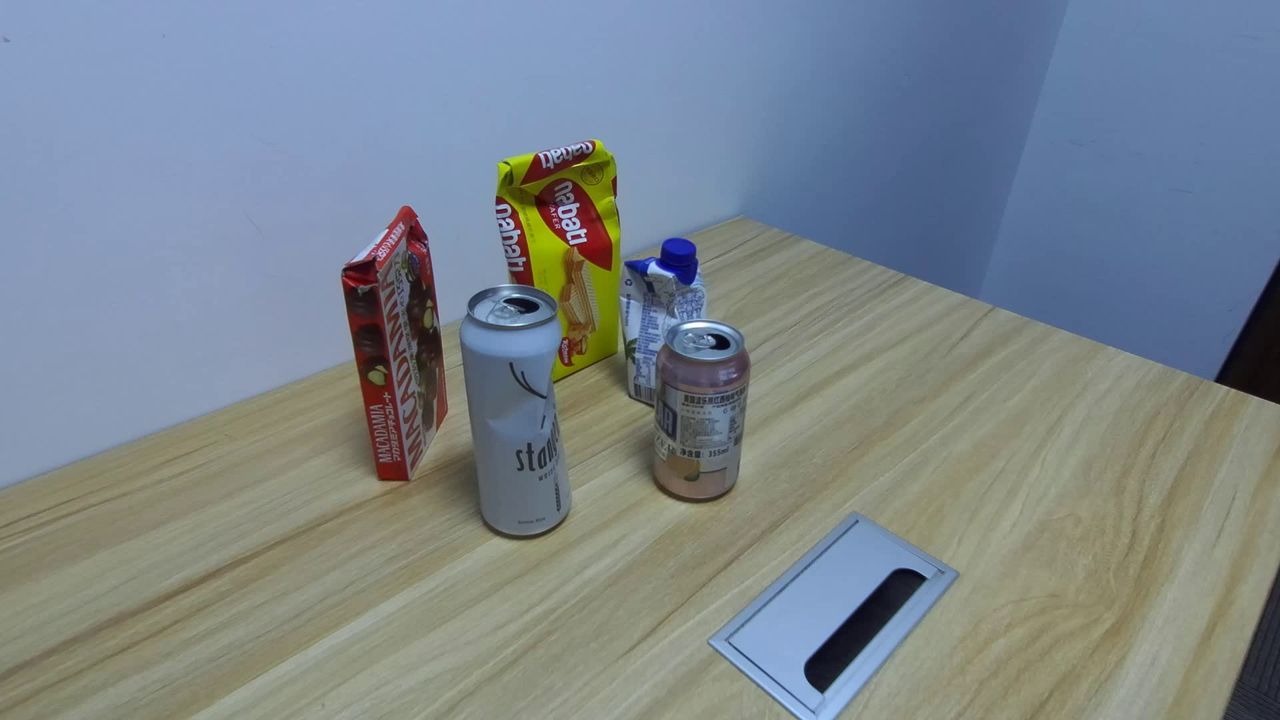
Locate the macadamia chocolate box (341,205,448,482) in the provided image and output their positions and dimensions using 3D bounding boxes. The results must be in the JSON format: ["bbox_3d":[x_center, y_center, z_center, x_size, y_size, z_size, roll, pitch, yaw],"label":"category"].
[{"bbox_3d":[-0.178,-0.011,0.530,0.027,0.187,0.102,6,33,2],"label":"macadamia chocolate box"}]

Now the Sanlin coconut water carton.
[{"bbox_3d":[0.022,-0.033,0.608,0.068,0.144,0.057,12,22,36],"label":"Sanlin coconut water carton"}]

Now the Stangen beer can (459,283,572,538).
[{"bbox_3d":[-0.079,0.036,0.472,0.069,0.173,0.070,25,39,32],"label":"Stangen beer can"}]

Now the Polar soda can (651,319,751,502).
[{"bbox_3d":[0.044,0.037,0.513,0.067,0.126,0.067,0,30,0],"label":"Polar soda can"}]

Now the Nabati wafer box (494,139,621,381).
[{"bbox_3d":[-0.066,-0.084,0.629,0.114,0.205,0.042,-26,39,-33],"label":"Nabati wafer box"}]
